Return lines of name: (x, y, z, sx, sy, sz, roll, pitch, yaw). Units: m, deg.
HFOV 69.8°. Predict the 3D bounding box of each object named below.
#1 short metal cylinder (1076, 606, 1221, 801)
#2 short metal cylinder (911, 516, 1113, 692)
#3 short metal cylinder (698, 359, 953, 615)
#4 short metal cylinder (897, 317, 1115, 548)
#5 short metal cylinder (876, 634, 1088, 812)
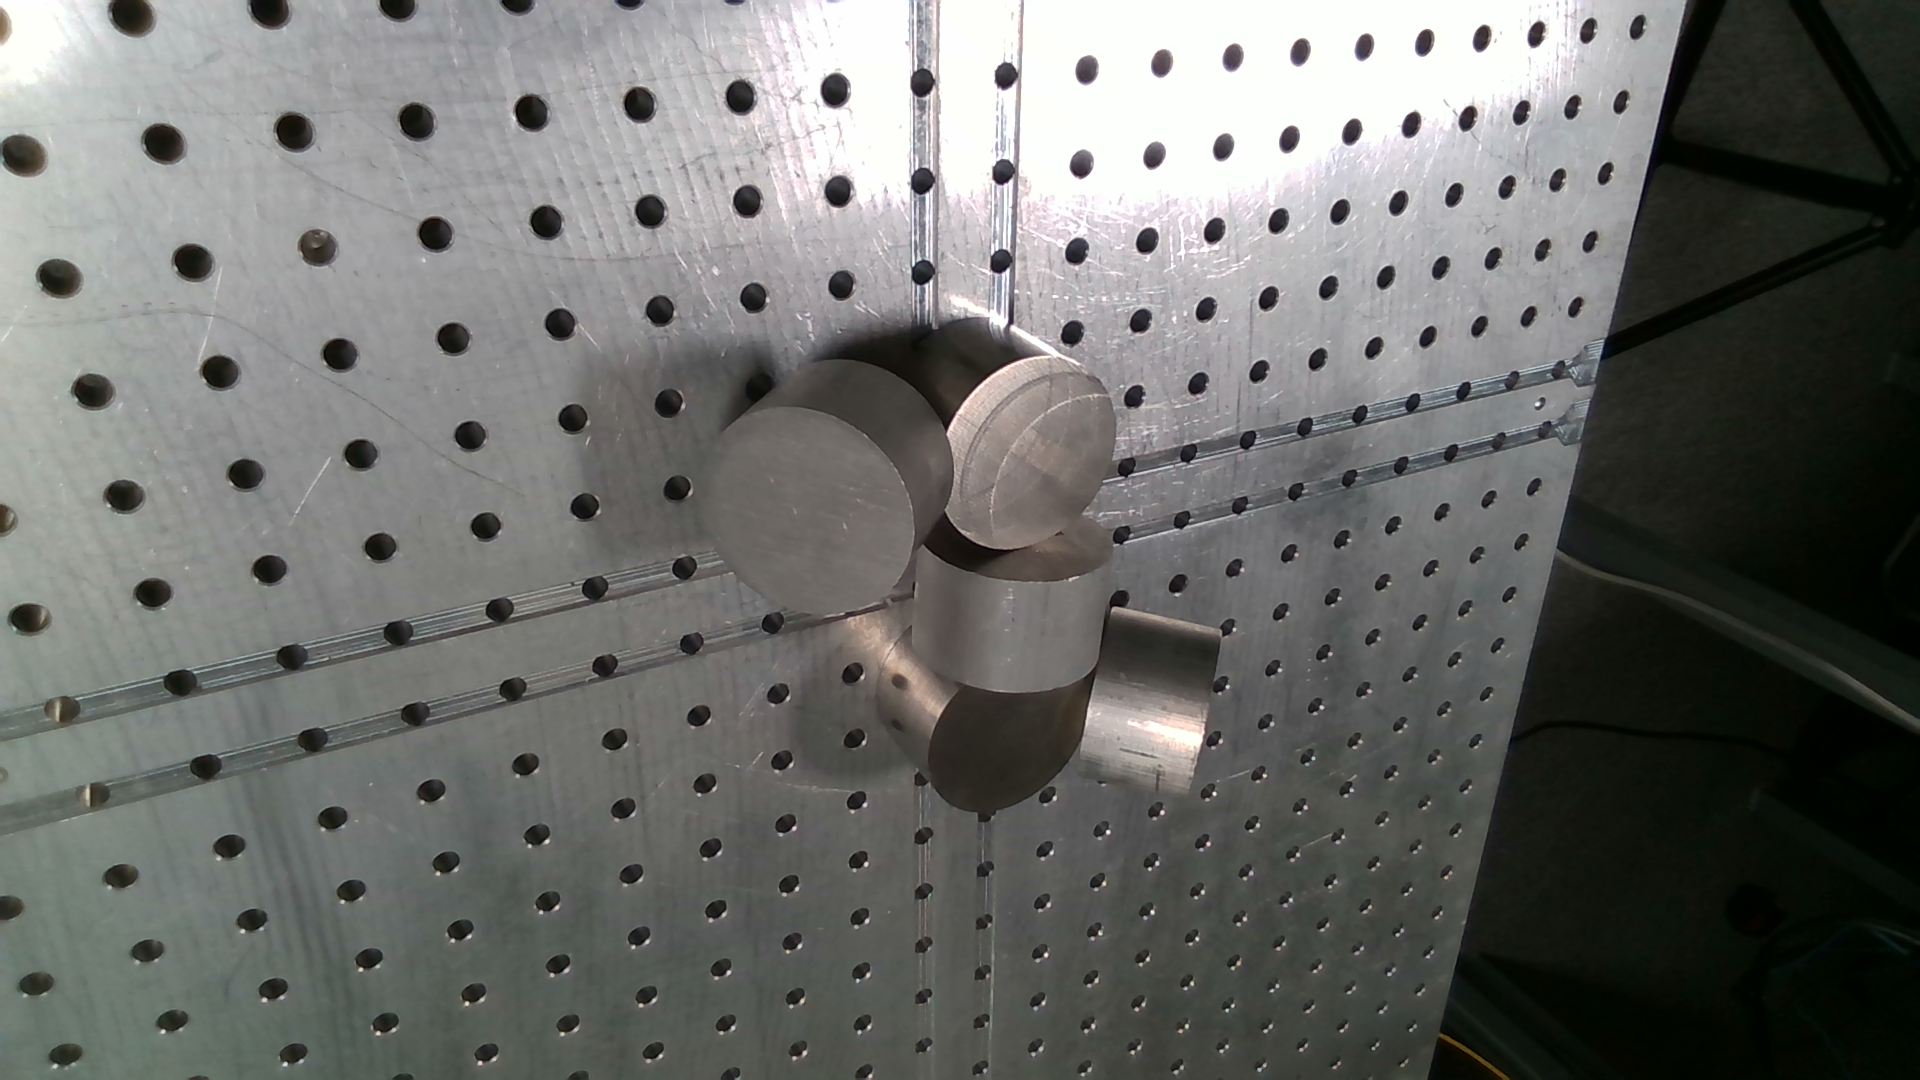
short metal cylinder: (0.087, 0.075, 0.633, 0.050, 0.080, 0.080, 12, 114, 9)
short metal cylinder: (0.021, 0.021, 0.572, 0.080, 0.080, 0.050, -10, 119, -27)
short metal cylinder: (-0.048, -0.020, 0.501, 0.080, 0.050, 0.080, 7, 118, 14)
short metal cylinder: (0.015, -0.044, 0.552, 0.080, 0.050, 0.080, -14, 122, -25)
short metal cylinder: (0.010, 0.073, 0.612, 0.080, 0.050, 0.080, -14, 122, -25)
